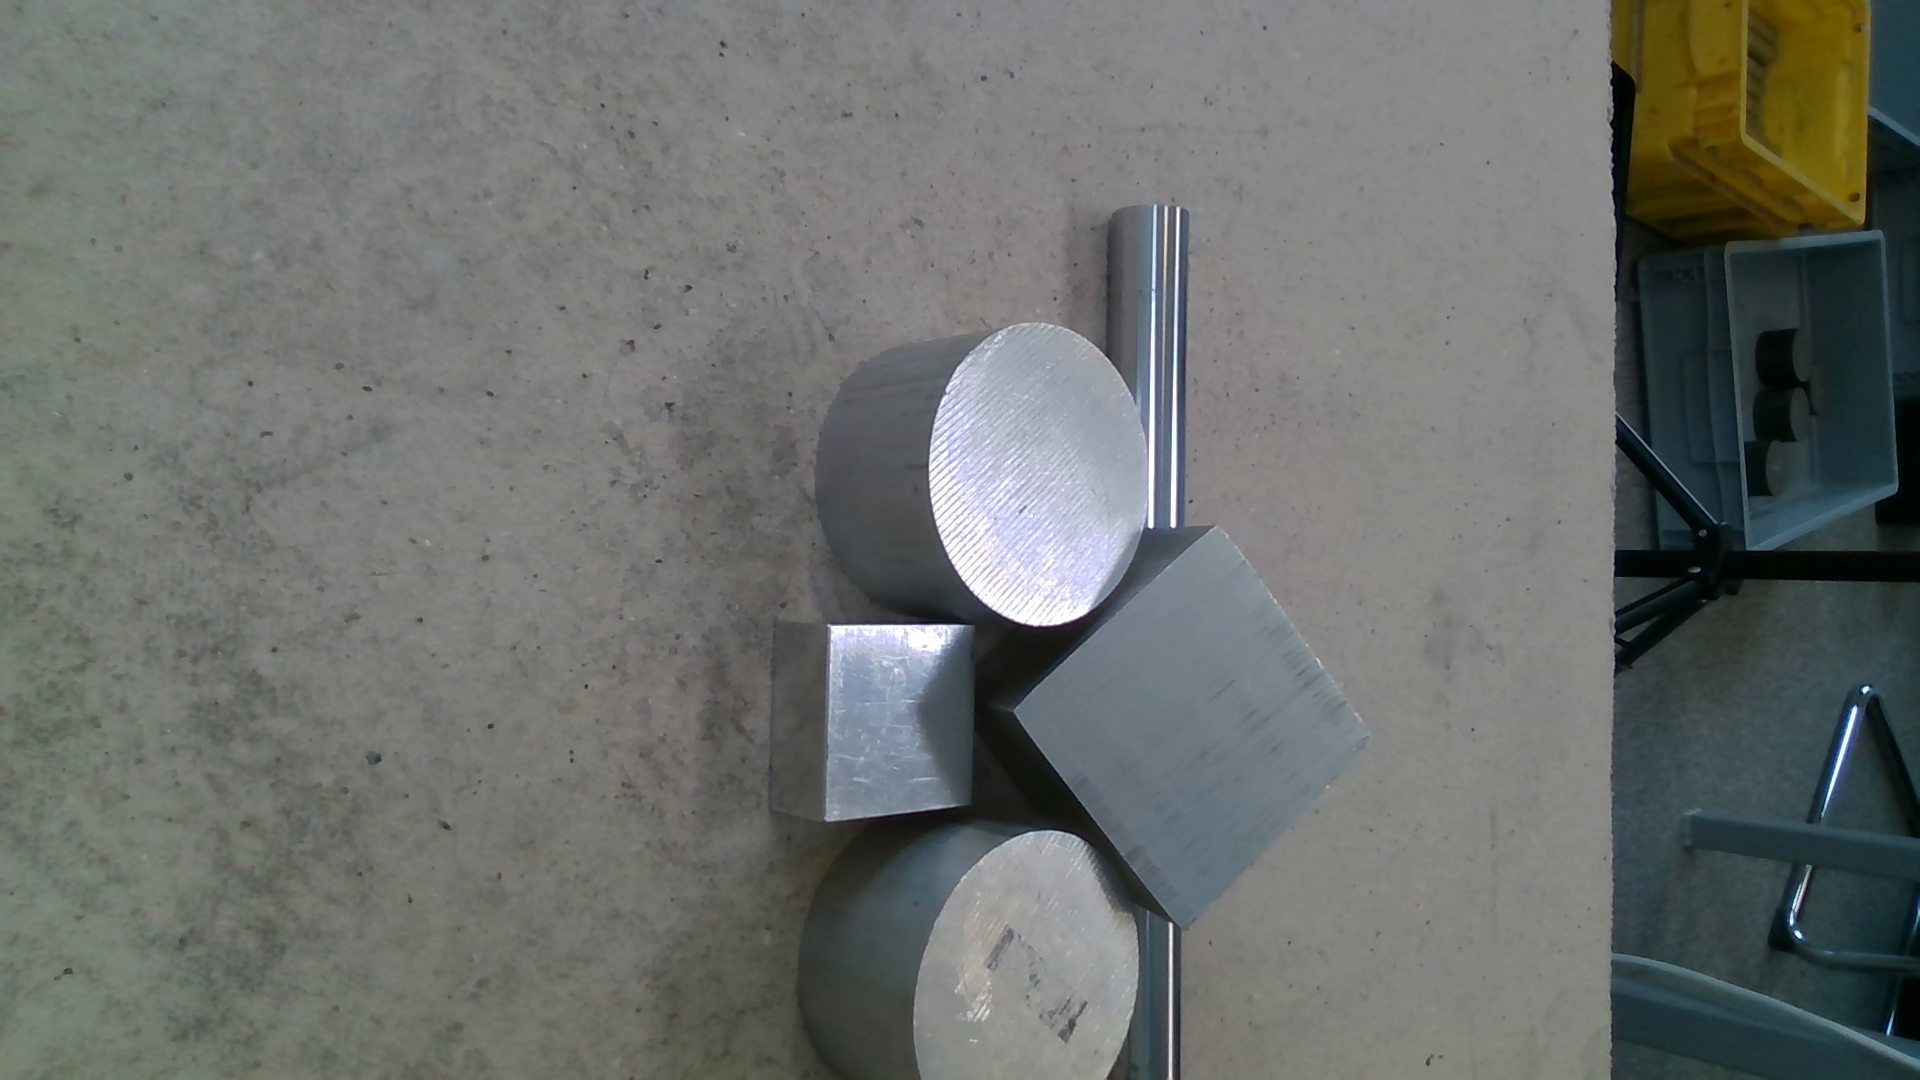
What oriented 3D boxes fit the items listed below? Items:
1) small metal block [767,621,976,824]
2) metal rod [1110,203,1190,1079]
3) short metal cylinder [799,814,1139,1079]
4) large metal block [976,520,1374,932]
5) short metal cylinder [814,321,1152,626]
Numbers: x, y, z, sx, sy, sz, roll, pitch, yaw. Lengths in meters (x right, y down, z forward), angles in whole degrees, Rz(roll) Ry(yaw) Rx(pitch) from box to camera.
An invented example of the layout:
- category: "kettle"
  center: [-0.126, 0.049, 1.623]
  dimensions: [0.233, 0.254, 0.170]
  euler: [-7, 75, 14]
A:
- category: "small metal block"
  center: [-0.023, 0.047, 0.373]
  dimensions: [0.050, 0.025, 0.050]
  euler: [2, 89, -40]
- category: "metal rod"
  center: [0.060, 0.045, 0.441]
  dimensions: [0.025, 0.025, 0.300]
  euler: [1, 89, -40]
- category: "short metal cylinder"
  center: [0.003, 0.116, 0.378]
  dimensions: [0.080, 0.050, 0.080]
  euler: [0, 90, -40]
- category: "large metal block"
  center: [0.058, 0.051, 0.401]
  dimensions: [0.080, 0.050, 0.080]
  euler: [-41, 102, -15]
- category: "short metal cylinder"
  center: [0.007, -0.017, 0.380]
  dimensions: [0.080, 0.050, 0.080]
  euler: [0, 90, -40]
